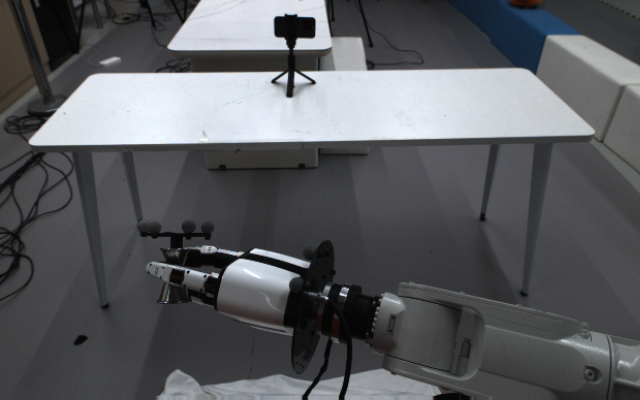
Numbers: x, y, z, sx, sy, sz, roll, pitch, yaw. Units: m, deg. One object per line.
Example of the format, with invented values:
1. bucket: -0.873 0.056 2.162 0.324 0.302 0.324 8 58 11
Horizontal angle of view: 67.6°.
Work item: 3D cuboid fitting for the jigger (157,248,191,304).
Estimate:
1. jigger: -0.184 0.096 0.616 0.043 0.071 0.043 0 -5 0
